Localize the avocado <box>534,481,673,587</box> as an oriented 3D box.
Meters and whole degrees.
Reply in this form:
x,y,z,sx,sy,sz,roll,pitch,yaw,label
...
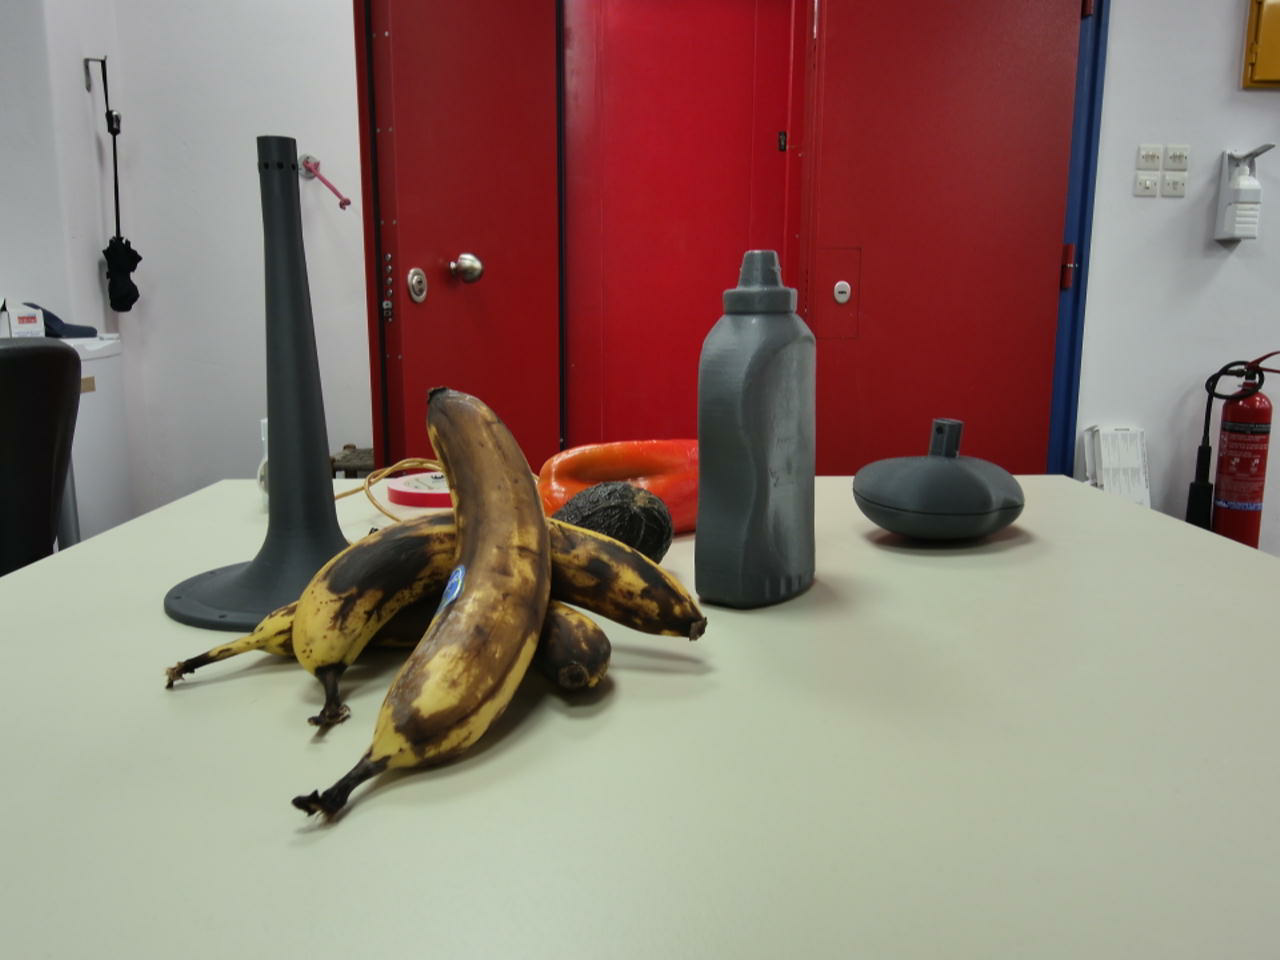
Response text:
x,y,z,sx,sy,sz,roll,pitch,yaw,label
-0.023,0.033,0.606,0.092,0.062,0.062,-3,9,-24,avocado
